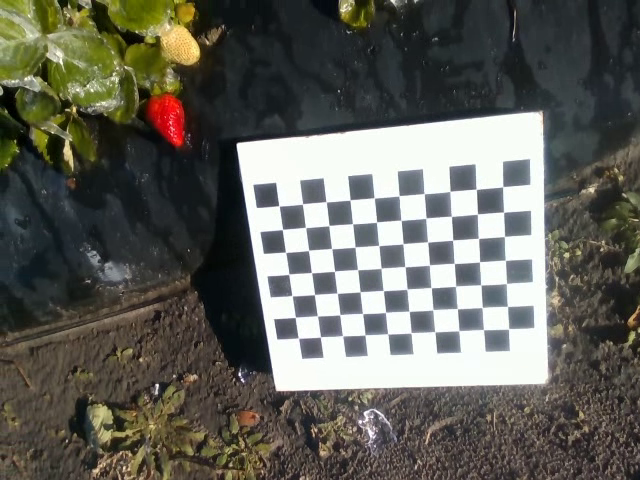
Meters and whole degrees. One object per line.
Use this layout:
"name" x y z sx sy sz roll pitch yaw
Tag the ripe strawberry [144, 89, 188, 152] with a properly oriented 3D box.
"ripe strawberry" -0.149 -0.112 0.539 0.041 0.052 0.040 -22 4 11
